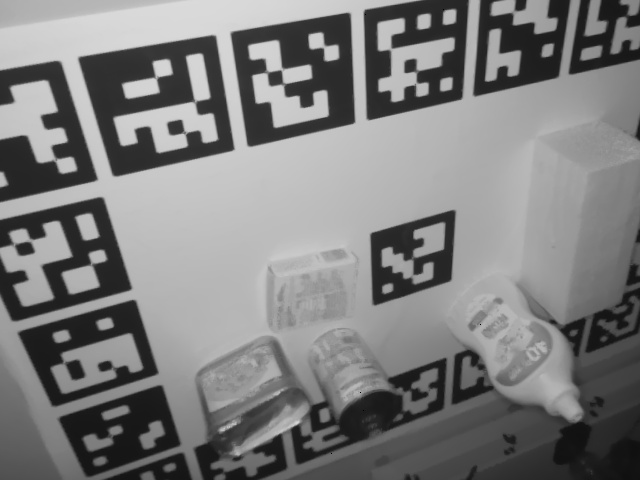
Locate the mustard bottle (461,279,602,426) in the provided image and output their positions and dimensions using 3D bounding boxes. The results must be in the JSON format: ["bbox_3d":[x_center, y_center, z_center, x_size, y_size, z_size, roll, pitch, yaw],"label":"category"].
[{"bbox_3d":[0.237,0.127,0.749,0.096,0.191,0.058,-37,127,3],"label":"mustard bottle"}]

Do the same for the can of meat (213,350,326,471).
[{"bbox_3d":[-0.055,0.170,0.708,0.102,0.083,0.057,-27,125,-4],"label":"can of meat"}]

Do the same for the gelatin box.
[{"bbox_3d":[-0.002,0.061,0.695,0.090,0.030,0.072,-9,120,-22],"label":"gelatin box"}]

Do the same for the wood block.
[{"bbox_3d":[0.301,-0.010,0.755,0.092,0.090,0.204,-15,127,-12],"label":"wood block"}]

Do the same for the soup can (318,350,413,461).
[{"bbox_3d":[0.045,0.171,0.730,0.068,0.102,0.067,-11,121,-17],"label":"soup can"}]
